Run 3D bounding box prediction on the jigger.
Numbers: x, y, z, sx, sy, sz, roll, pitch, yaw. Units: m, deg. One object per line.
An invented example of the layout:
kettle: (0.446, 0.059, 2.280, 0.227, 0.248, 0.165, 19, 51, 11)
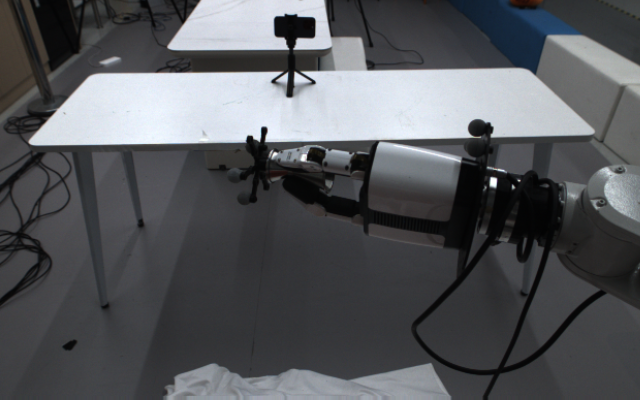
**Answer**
jigger: (-0.014, -0.038, 0.535, 0.071, 0.043, 0.043, 8, 35, 15)
